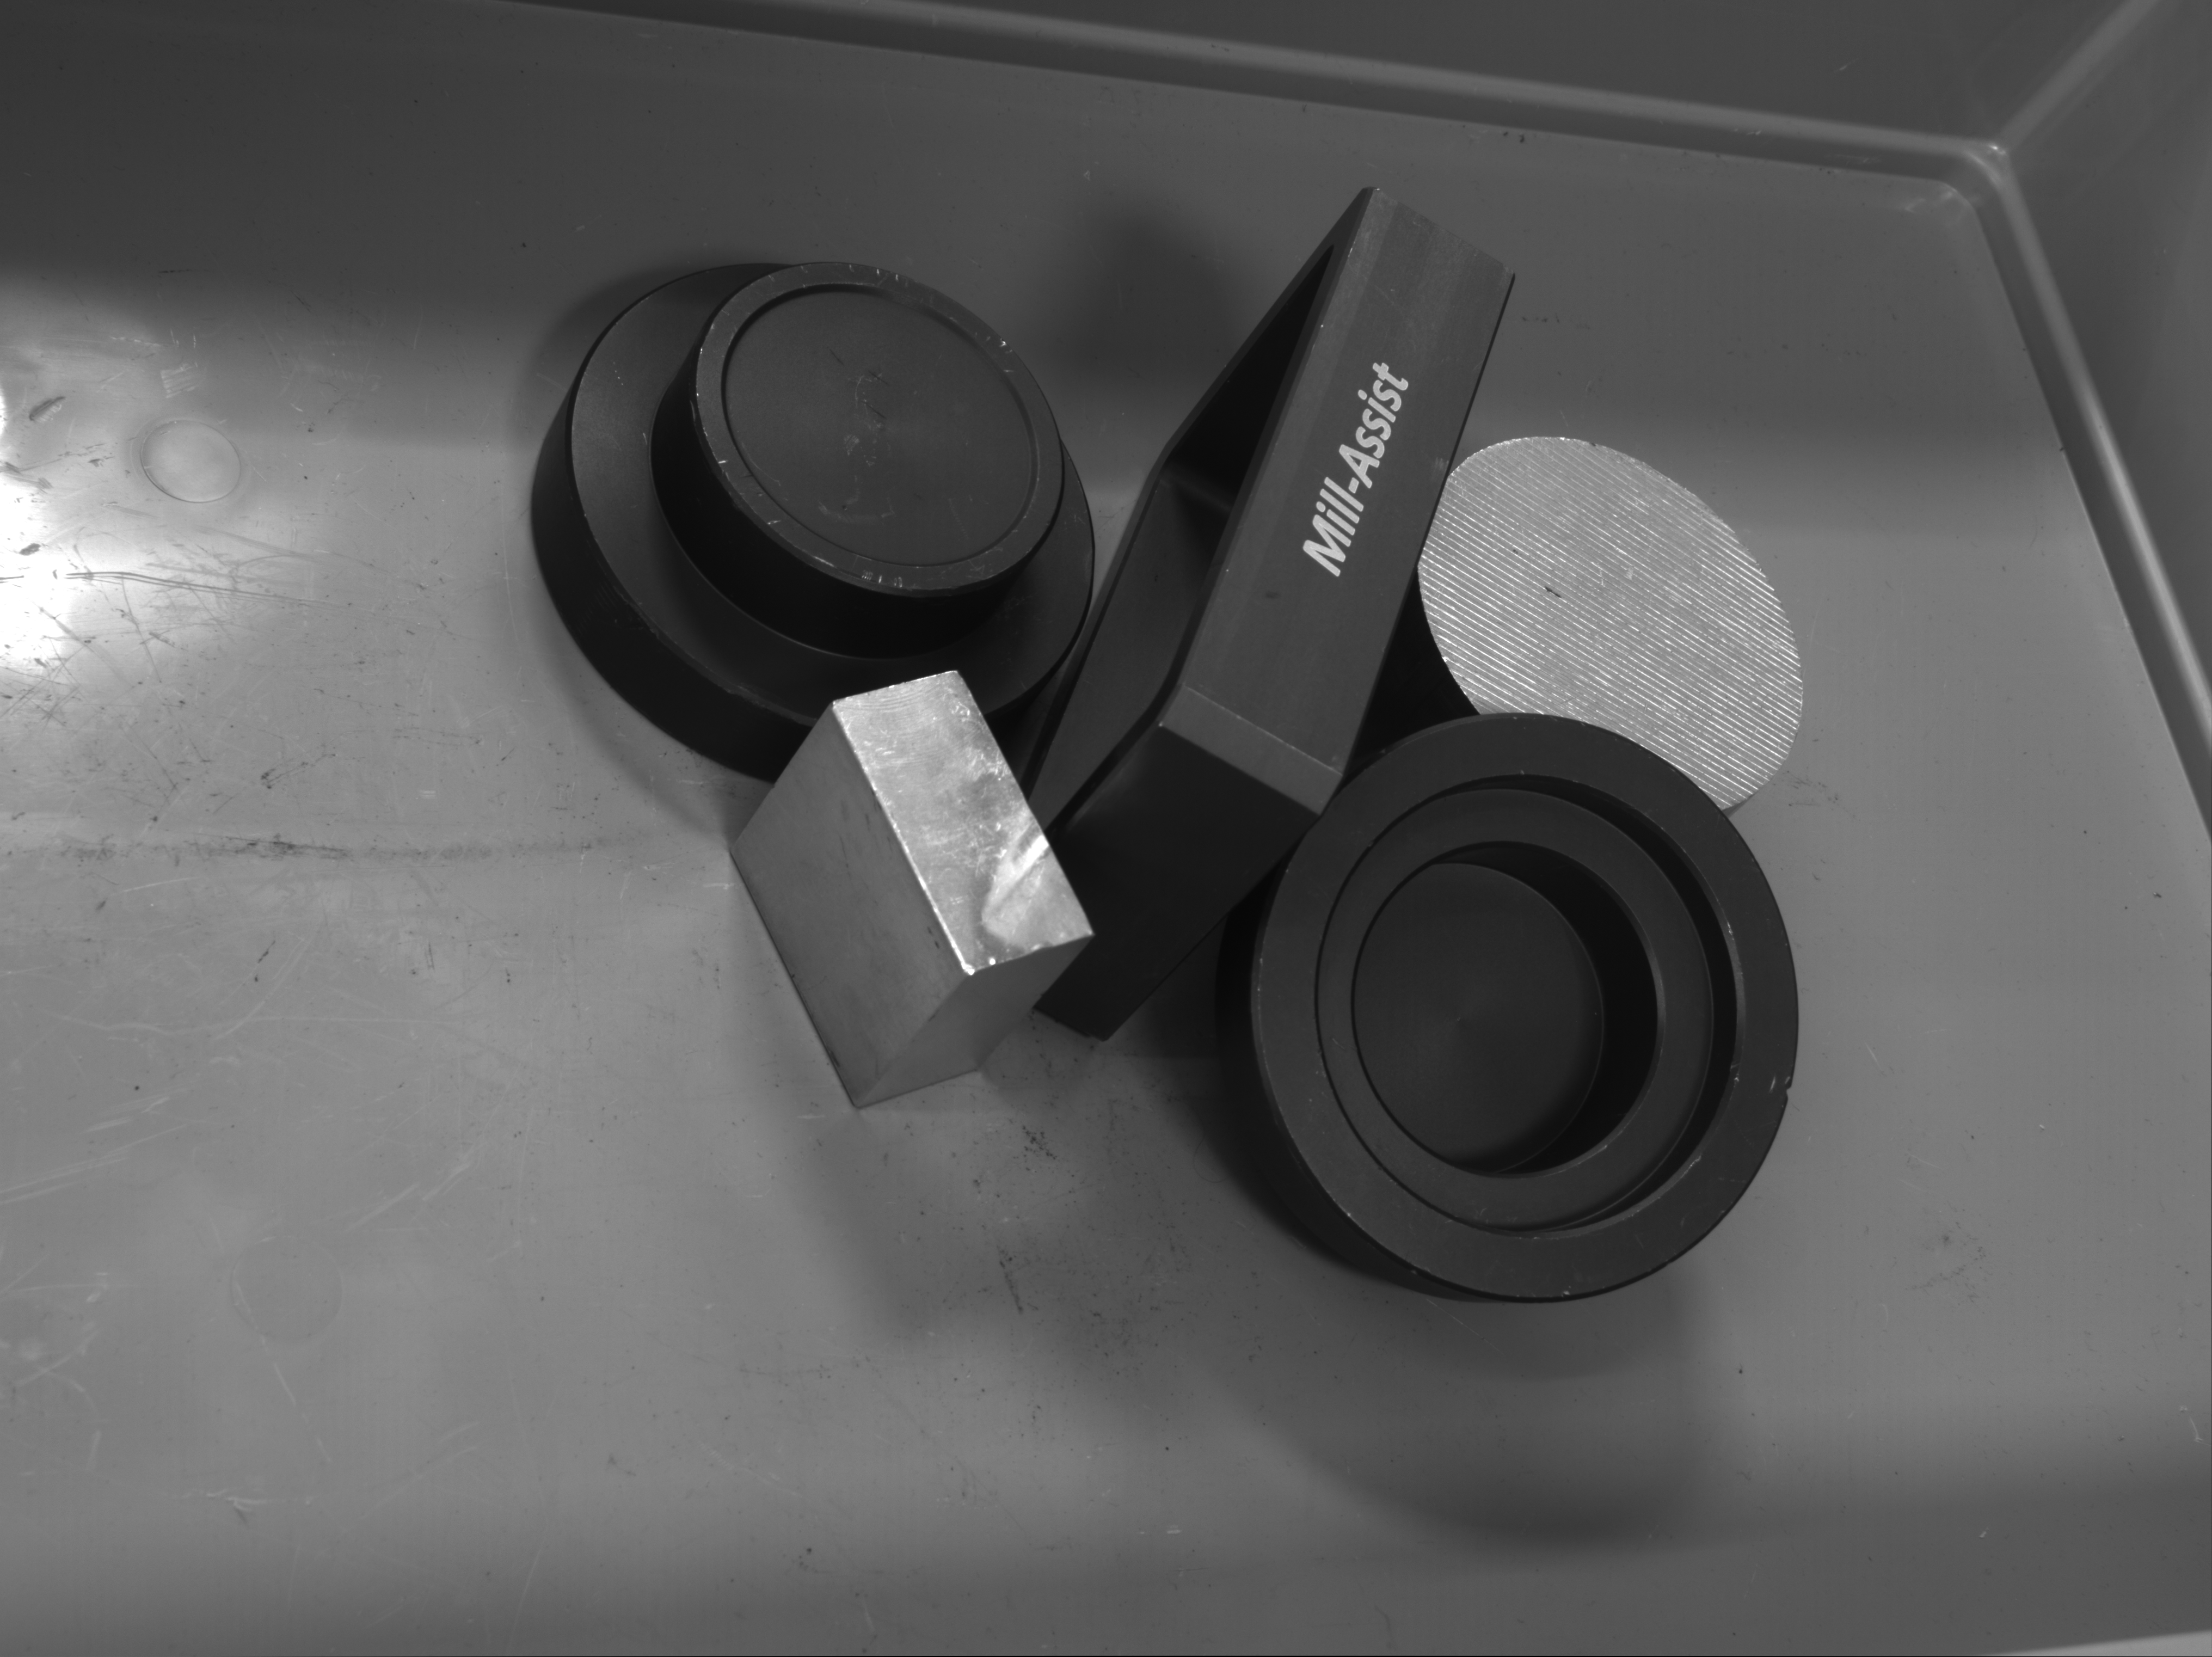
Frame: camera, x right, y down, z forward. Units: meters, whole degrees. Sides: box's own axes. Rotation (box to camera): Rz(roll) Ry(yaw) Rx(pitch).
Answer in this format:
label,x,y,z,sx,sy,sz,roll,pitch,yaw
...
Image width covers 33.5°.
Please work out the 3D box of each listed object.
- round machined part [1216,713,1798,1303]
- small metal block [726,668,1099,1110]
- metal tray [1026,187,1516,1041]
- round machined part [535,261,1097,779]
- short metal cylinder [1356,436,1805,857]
label,x,y,z,sx,sy,sz,roll,pitch,yaw
round machined part,0.065,0.032,0.627,0.098,0.042,0.098,2,82,-17
small metal block,-0.032,0.010,0.598,0.025,0.050,0.050,-16,70,-34
metal tray,0.023,-0.038,0.631,0.030,0.090,0.130,29,52,-10
round machined part,-0.046,-0.059,0.637,0.098,0.042,0.098,13,56,-21
short metal cylinder,0.082,-0.025,0.681,0.080,0.050,0.080,13,56,-21
